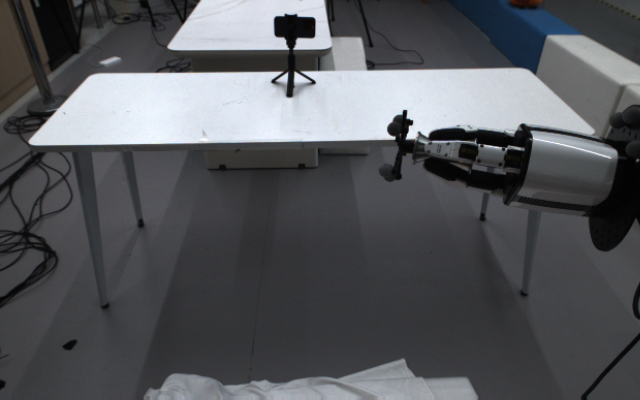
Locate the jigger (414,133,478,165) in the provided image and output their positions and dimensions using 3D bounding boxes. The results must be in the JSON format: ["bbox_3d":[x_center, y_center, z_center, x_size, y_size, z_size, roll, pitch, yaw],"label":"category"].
[{"bbox_3d":[0.153,-0.060,0.573,0.071,0.043,0.043,10,35,16],"label":"jigger"}]
